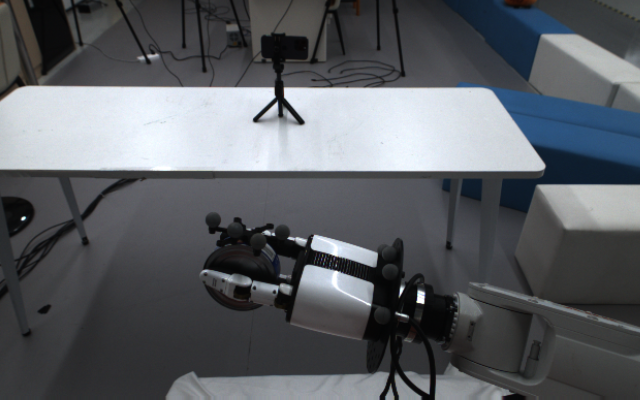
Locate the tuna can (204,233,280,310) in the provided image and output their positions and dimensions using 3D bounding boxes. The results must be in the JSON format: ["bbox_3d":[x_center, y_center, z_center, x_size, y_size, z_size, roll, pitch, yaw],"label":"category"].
[{"bbox_3d":[-0.088,0.084,0.564,0.085,0.085,0.034,5,18,4],"label":"tuna can"}]
